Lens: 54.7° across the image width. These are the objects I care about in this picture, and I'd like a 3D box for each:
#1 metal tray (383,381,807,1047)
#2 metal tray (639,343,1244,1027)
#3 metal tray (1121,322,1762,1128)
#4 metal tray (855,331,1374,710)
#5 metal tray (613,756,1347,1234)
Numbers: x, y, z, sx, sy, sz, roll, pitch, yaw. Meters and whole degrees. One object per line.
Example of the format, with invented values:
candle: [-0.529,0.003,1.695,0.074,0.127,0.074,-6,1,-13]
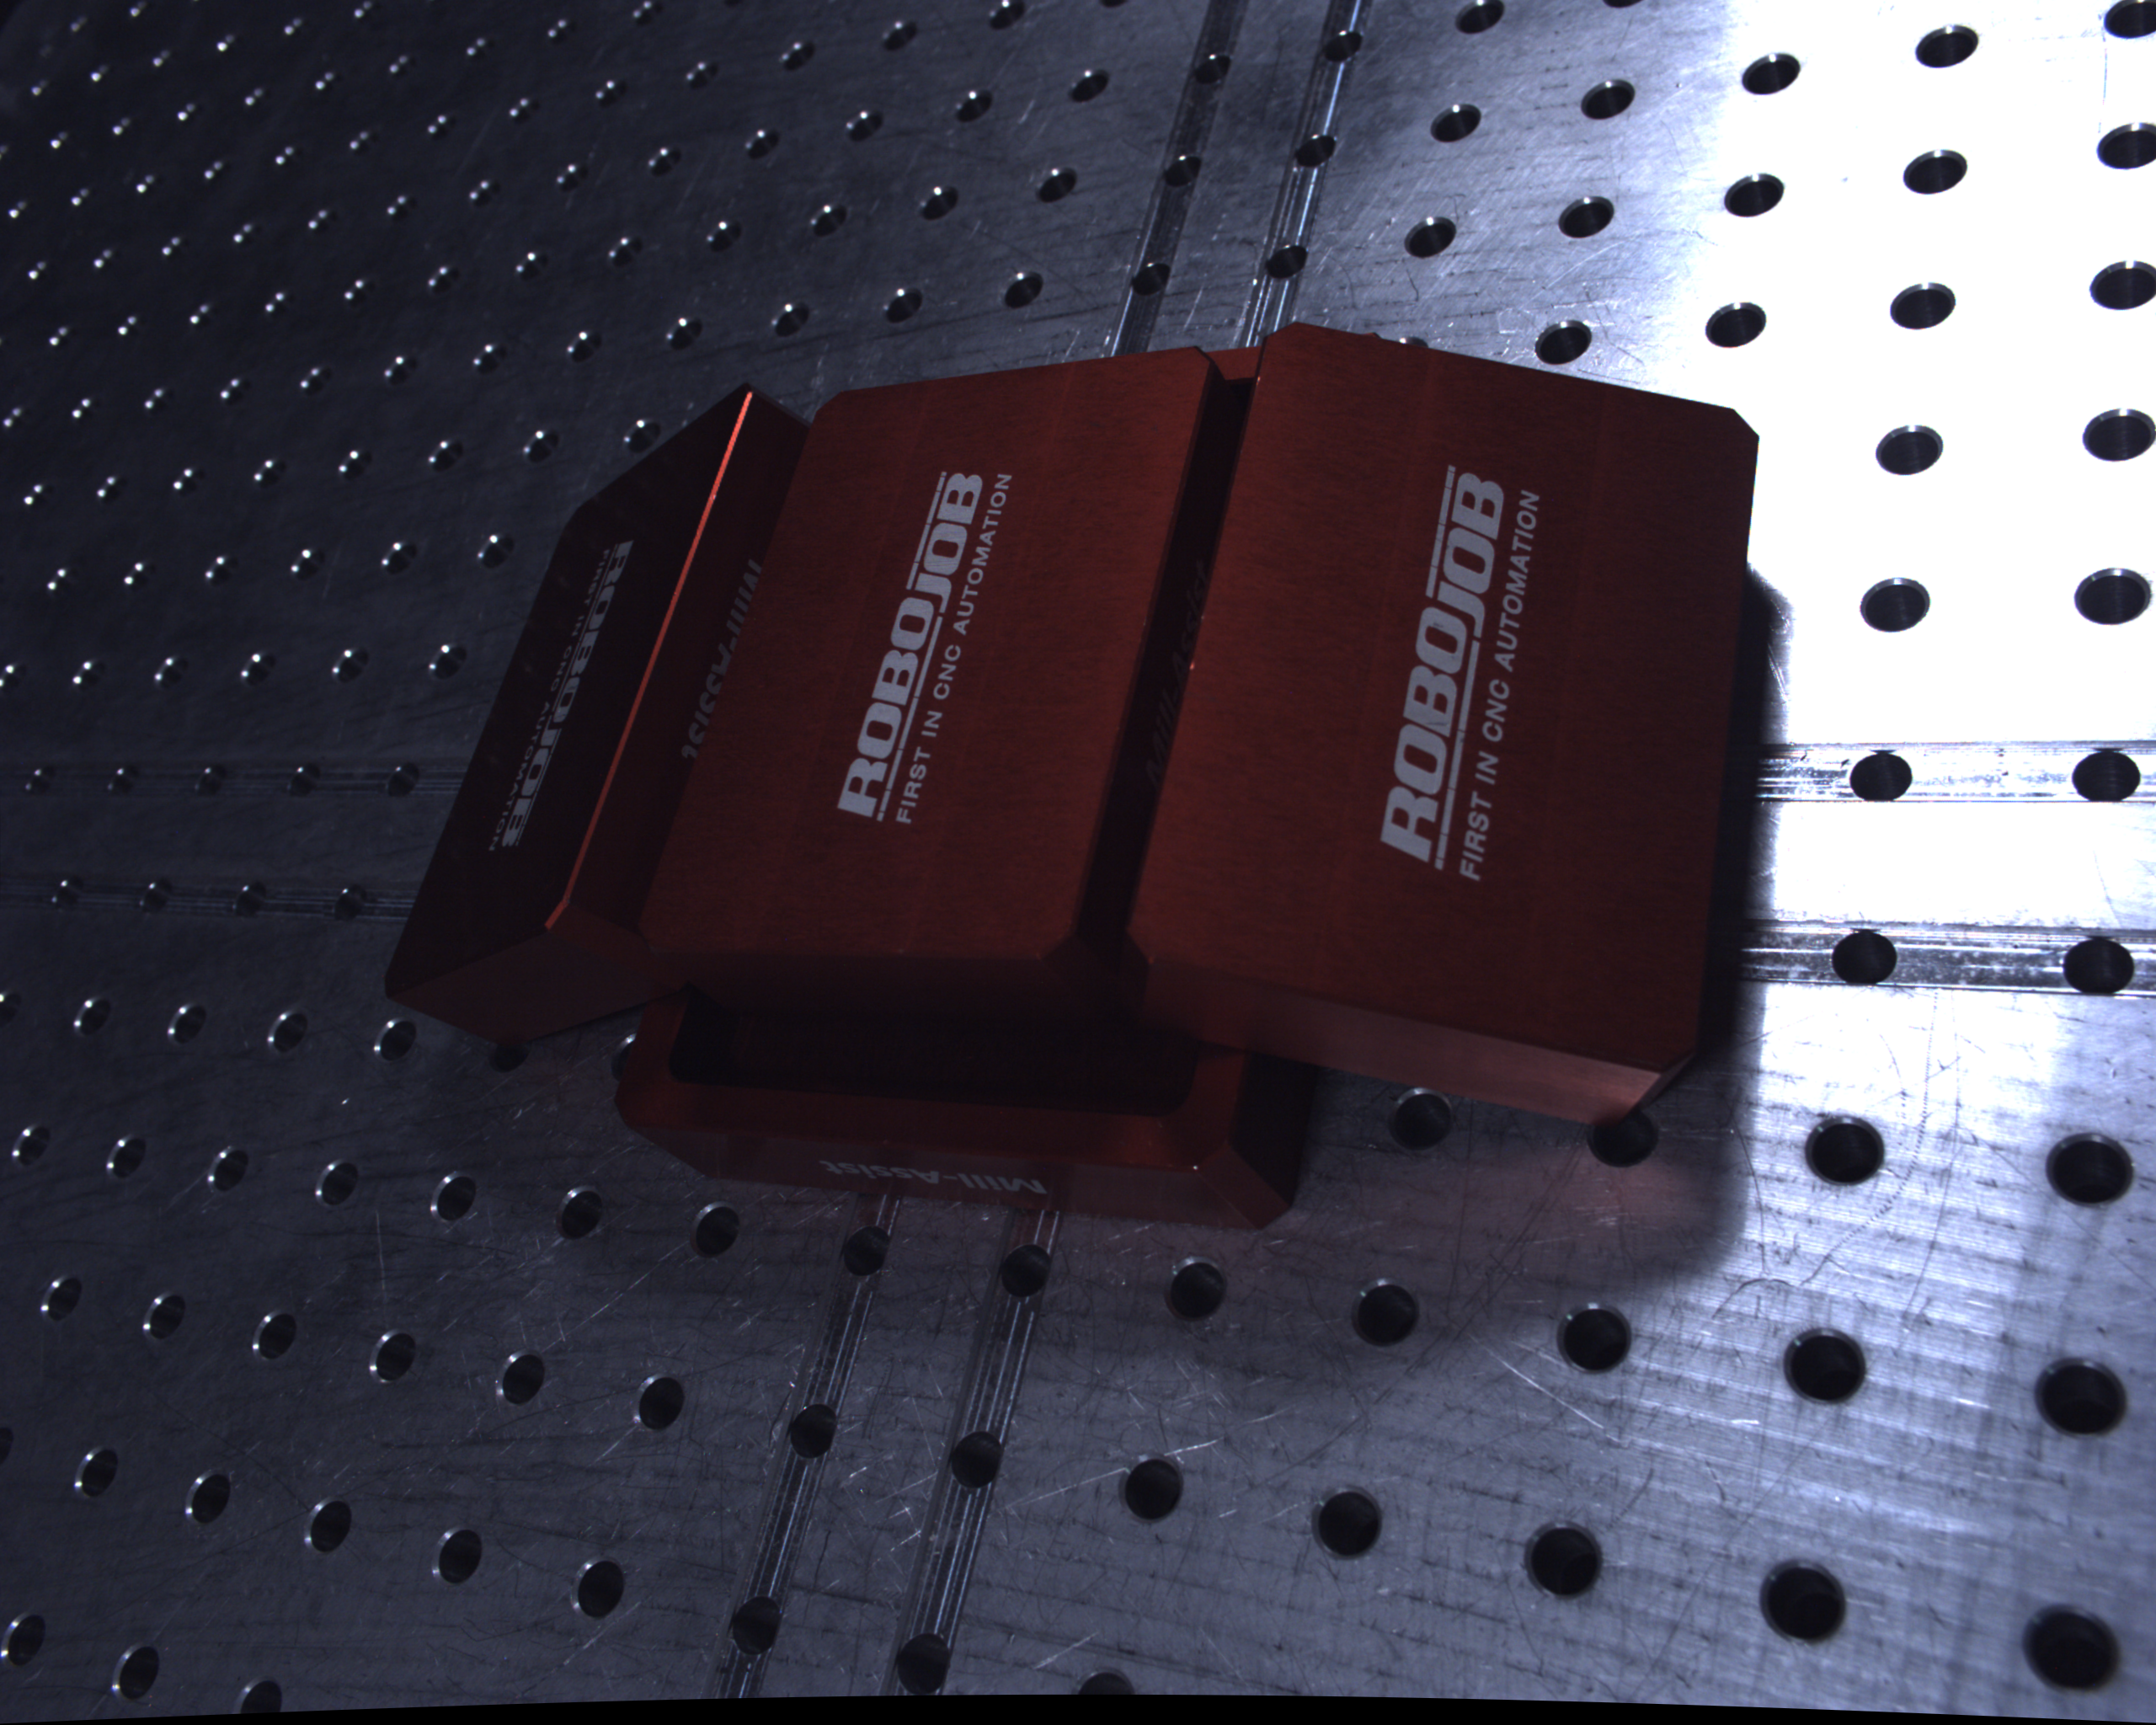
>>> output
metal tray: [-0.099,-0.031,0.451,0.090,0.030,0.130,-19,50,49]
metal tray: [-0.021,-0.035,0.397,0.090,0.030,0.130,0,61,27]
metal tray: [0.065,-0.027,0.362,0.090,0.030,0.130,12,65,3]
metal tray: [0.002,-0.061,0.440,0.130,0.030,0.090,1,62,28]
metal tray: [-0.018,0.019,0.402,0.130,0.030,0.090,1,62,28]
